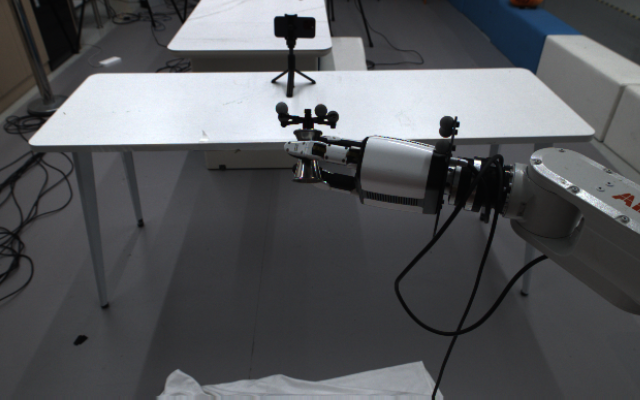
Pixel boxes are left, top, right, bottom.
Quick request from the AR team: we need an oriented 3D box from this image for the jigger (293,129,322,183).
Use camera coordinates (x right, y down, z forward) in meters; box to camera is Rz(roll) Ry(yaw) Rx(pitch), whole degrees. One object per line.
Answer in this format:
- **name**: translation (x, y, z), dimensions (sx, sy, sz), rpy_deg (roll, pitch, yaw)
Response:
- **jigger**: translation (-0.018, -0.060, 0.659), dimensions (0.043, 0.071, 0.043), rpy_deg (1, -5, 0)
